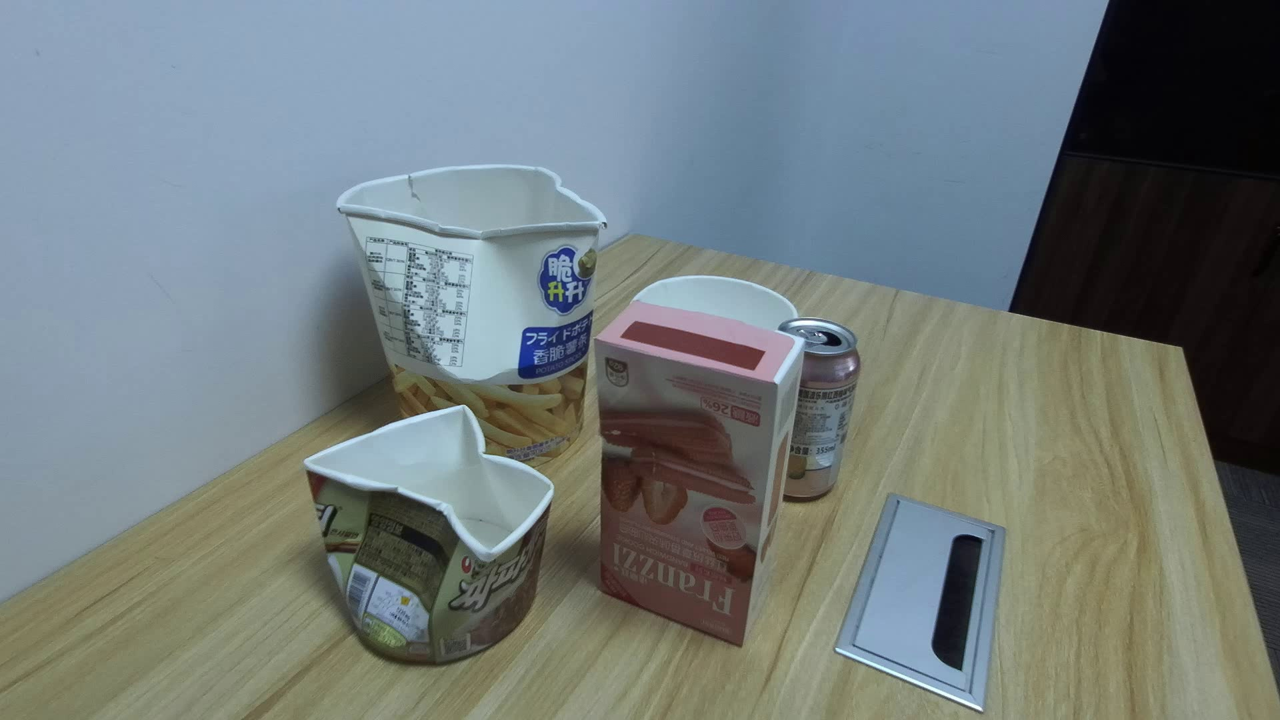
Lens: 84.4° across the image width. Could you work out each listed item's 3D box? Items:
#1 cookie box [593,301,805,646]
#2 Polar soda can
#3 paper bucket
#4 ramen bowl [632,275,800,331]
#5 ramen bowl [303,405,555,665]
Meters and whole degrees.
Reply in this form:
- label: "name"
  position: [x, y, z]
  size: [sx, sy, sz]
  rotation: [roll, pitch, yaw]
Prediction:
- label: "cookie box"
  position: [0.025, 0.065, 0.393]
  size: [0.105, 0.187, 0.049]
  rotation: [15, 34, 22]
- label: "Polar soda can"
  position: [0.119, 0.036, 0.516]
  size: [0.067, 0.125, 0.067]
  rotation: [2, 27, -1]
- label: "paper bucket"
  position: [-0.126, -0.031, 0.547]
  size: [0.163, 0.202, 0.168]
  rotation: [-12, 29, -19]
- label: "ramen bowl"
  position: [0.059, -0.001, 0.600]
  size: [0.140, 0.095, 0.140]
  rotation: [2, 32, -1]
- label: "ramen bowl"
  position: [-0.114, 0.105, 0.413]
  size: [0.112, 0.093, 0.127]
  rotation: [-22, 38, -36]
